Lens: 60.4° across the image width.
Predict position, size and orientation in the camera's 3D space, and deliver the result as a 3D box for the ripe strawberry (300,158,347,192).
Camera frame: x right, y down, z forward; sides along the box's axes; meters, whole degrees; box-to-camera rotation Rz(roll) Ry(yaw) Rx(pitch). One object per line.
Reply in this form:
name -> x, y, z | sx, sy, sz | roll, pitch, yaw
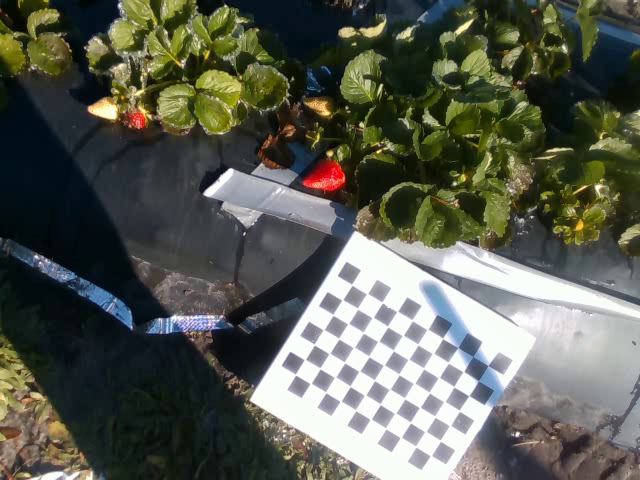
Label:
ripe strawberry -> 0.001, -0.084, 0.770 | 0.058, 0.061, 0.065 | -21, 8, 45
